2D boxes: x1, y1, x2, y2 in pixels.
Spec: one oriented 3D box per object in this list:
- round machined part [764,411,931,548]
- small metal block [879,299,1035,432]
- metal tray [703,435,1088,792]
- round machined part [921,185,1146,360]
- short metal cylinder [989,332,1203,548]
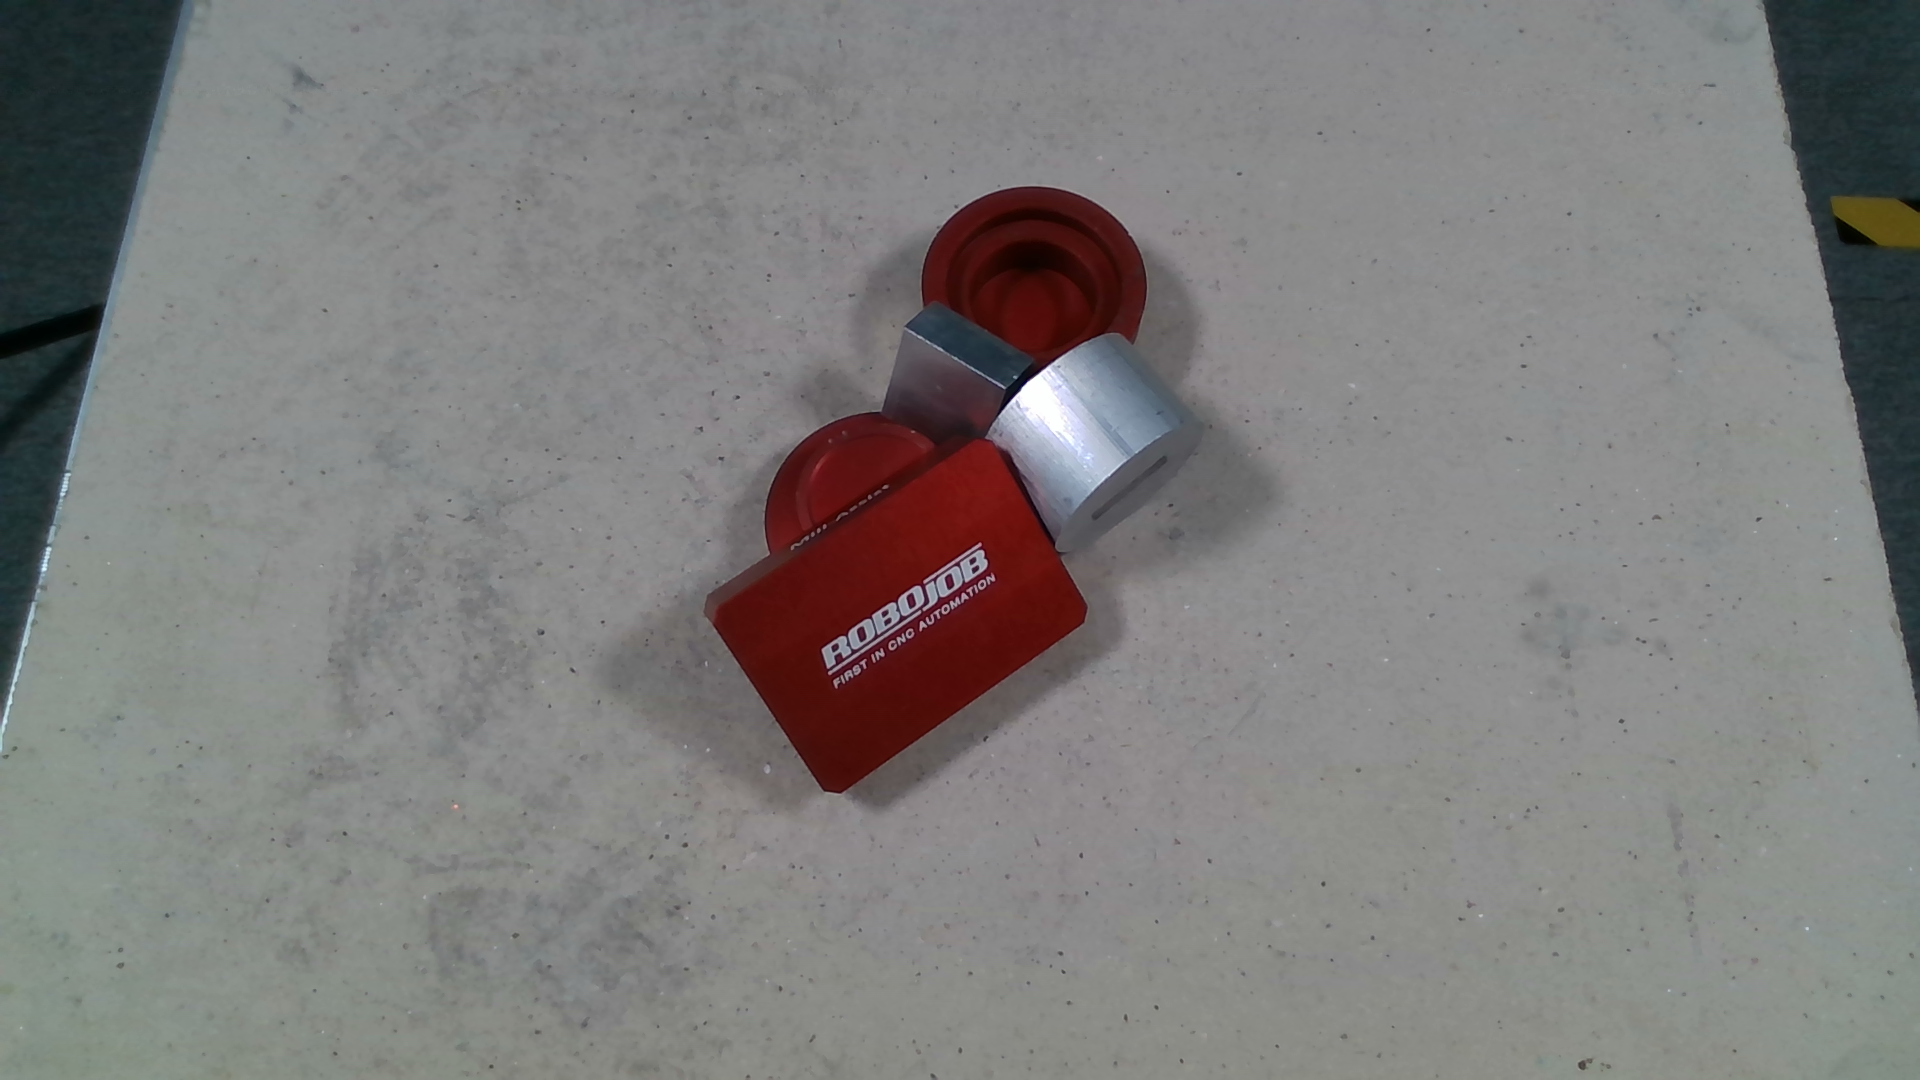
[{"bbox_3d":[-0.034,-0.011,0.583,0.098,0.042,0.098,0,70,0],"label":"round machined part"},{"bbox_3d":[-0.002,-0.065,0.579,0.050,0.050,0.025,32,49,10],"label":"small metal block"},{"bbox_3d":[-0.025,0.027,0.552,0.130,0.030,0.090,-34,105,-11],"label":"metal tray"},{"bbox_3d":[0.032,-0.106,0.617,0.098,0.042,0.098,0,70,0],"label":"round machined part"},{"bbox_3d":[0.055,-0.040,0.574,0.080,0.080,0.050,-36,74,-12],"label":"short metal cylinder"}]
